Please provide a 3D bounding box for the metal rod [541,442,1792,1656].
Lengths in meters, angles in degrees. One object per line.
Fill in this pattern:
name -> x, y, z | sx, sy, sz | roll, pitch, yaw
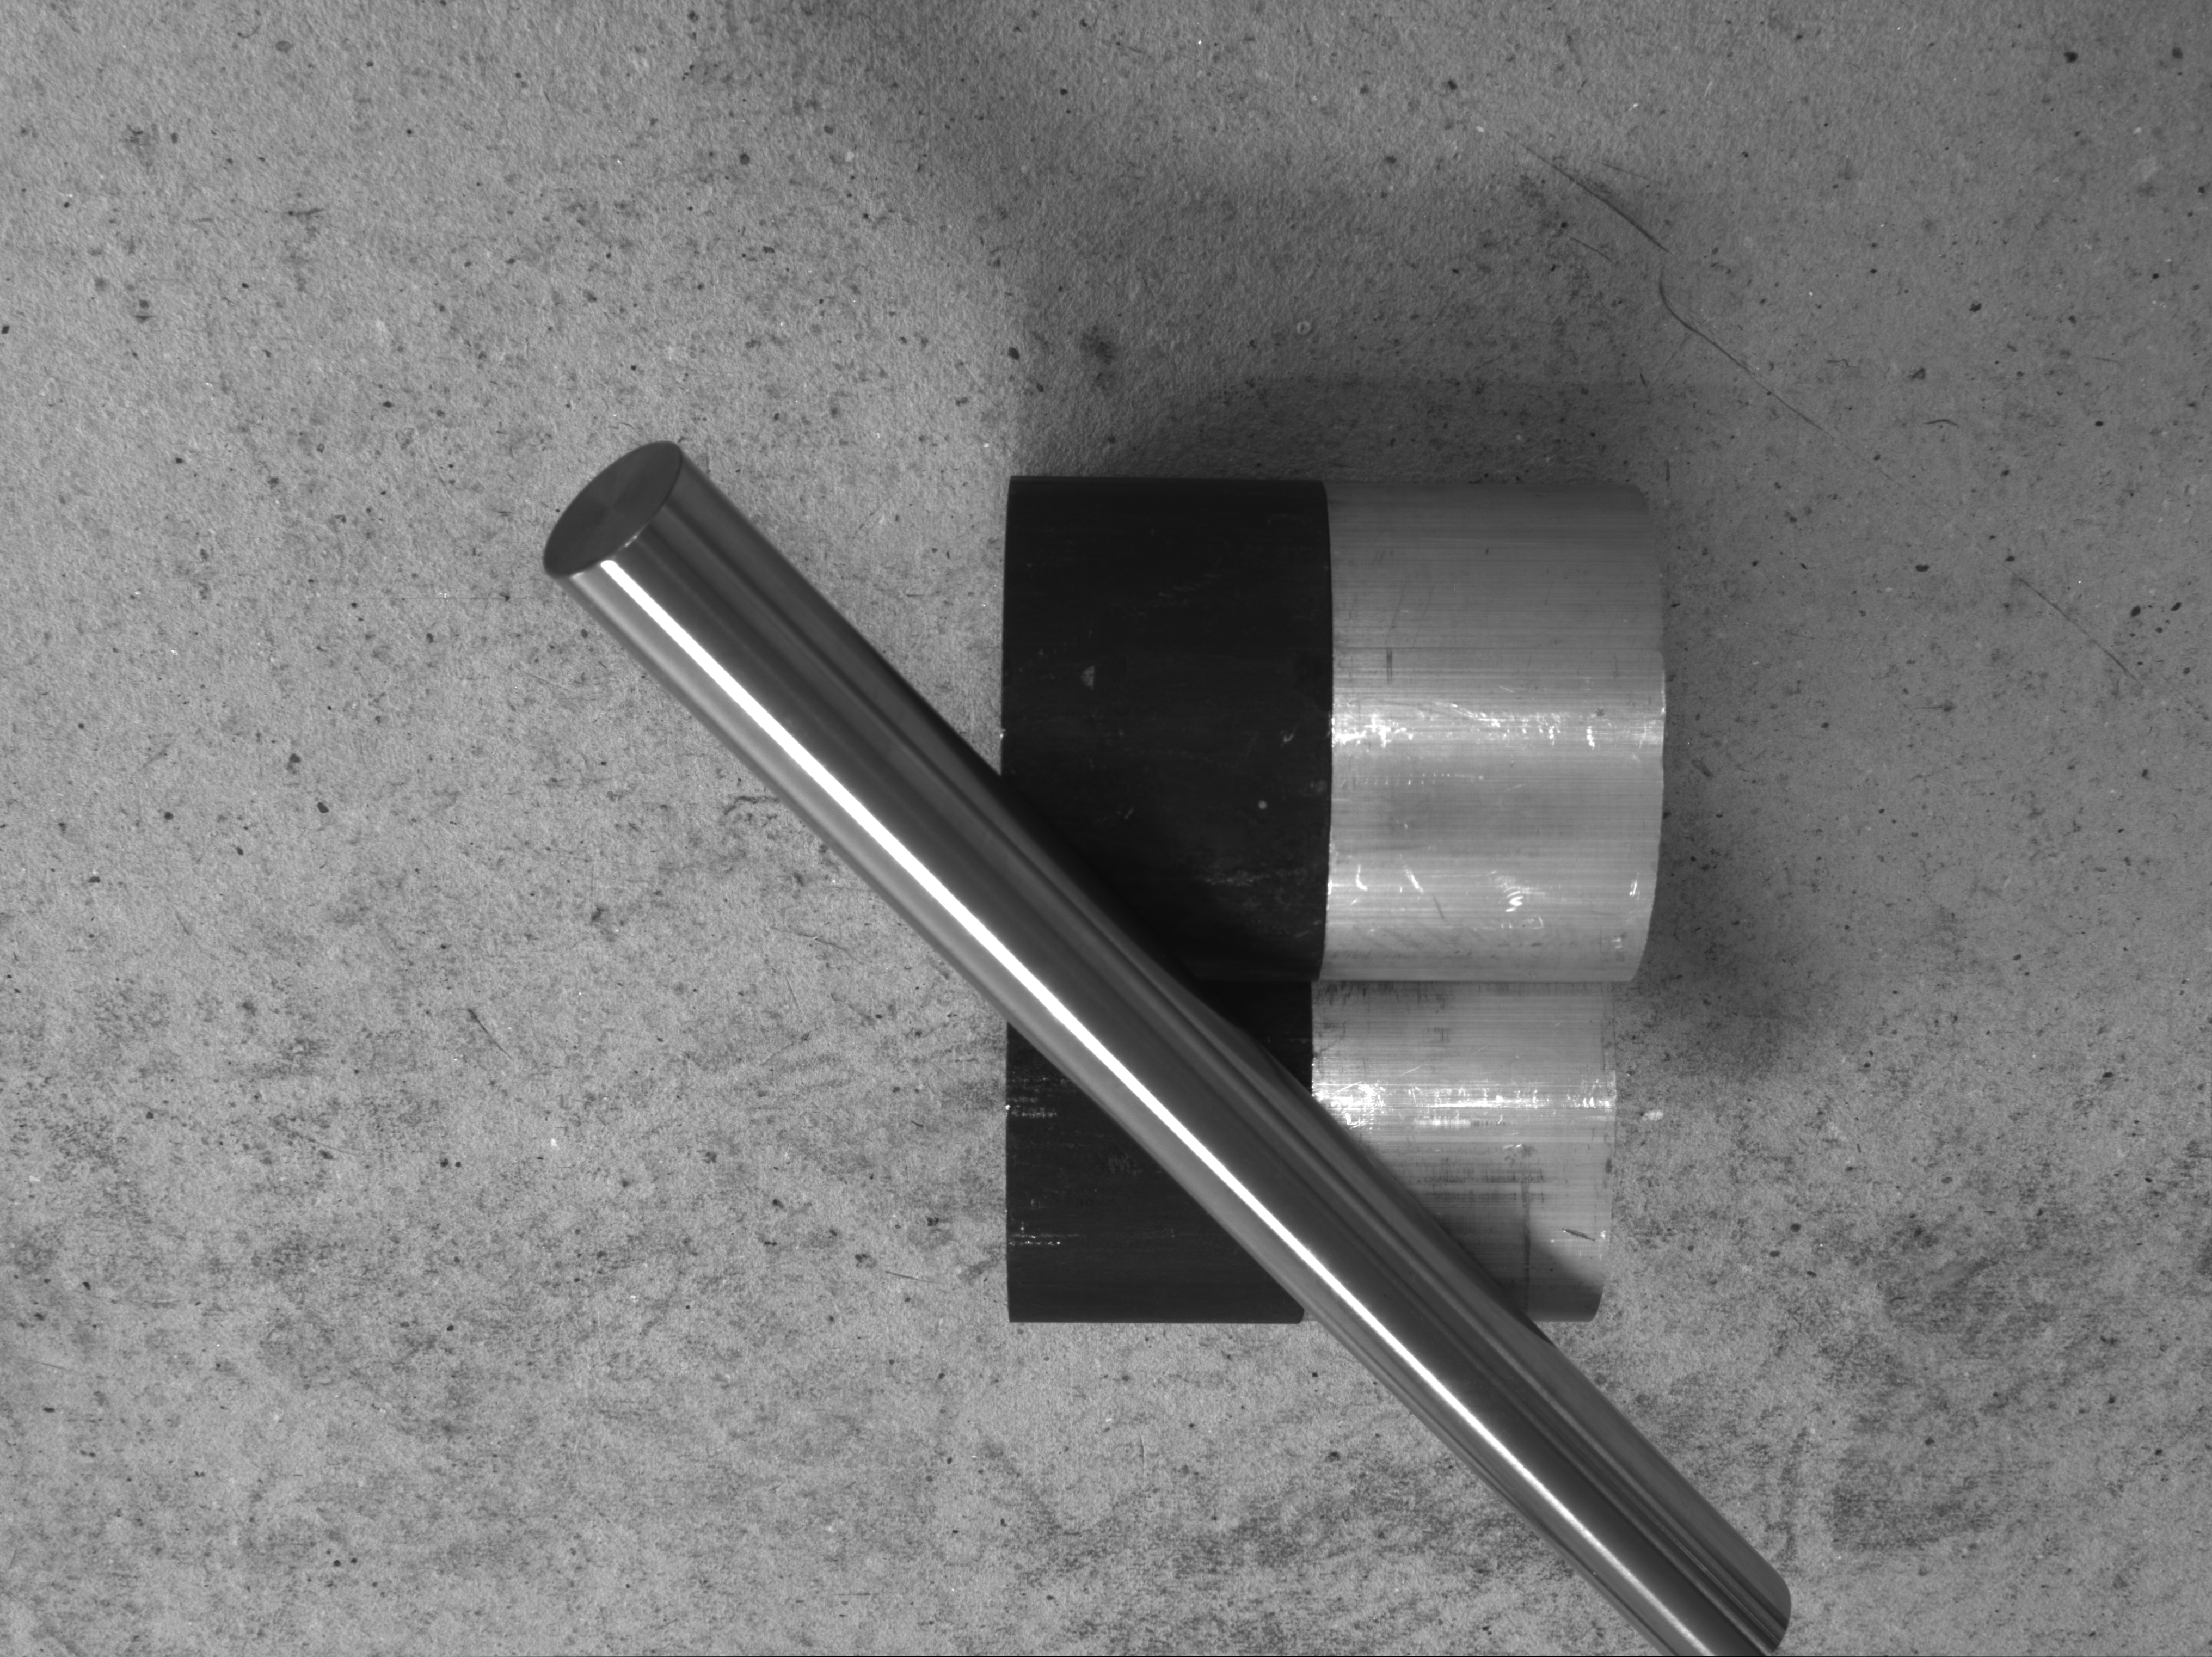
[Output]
metal rod -> 0.022, 0.049, 0.577 | 0.025, 0.025, 0.301 | -29, 124, 22

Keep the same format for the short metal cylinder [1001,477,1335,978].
short metal cylinder -> 0.009, -0.016, 0.591 | 0.050, 0.080, 0.080 | 0, 130, 0

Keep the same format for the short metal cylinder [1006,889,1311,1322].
short metal cylinder -> 0.009, 0.046, 0.643 | 0.050, 0.080, 0.080 | 0, 130, 0

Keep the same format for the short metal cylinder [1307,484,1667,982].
short metal cylinder -> 0.059, -0.015, 0.592 | 0.050, 0.080, 0.080 | 0, 130, 0

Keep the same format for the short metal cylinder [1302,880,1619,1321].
short metal cylinder -> 0.059, 0.046, 0.643 | 0.050, 0.080, 0.080 | 0, 130, 0
